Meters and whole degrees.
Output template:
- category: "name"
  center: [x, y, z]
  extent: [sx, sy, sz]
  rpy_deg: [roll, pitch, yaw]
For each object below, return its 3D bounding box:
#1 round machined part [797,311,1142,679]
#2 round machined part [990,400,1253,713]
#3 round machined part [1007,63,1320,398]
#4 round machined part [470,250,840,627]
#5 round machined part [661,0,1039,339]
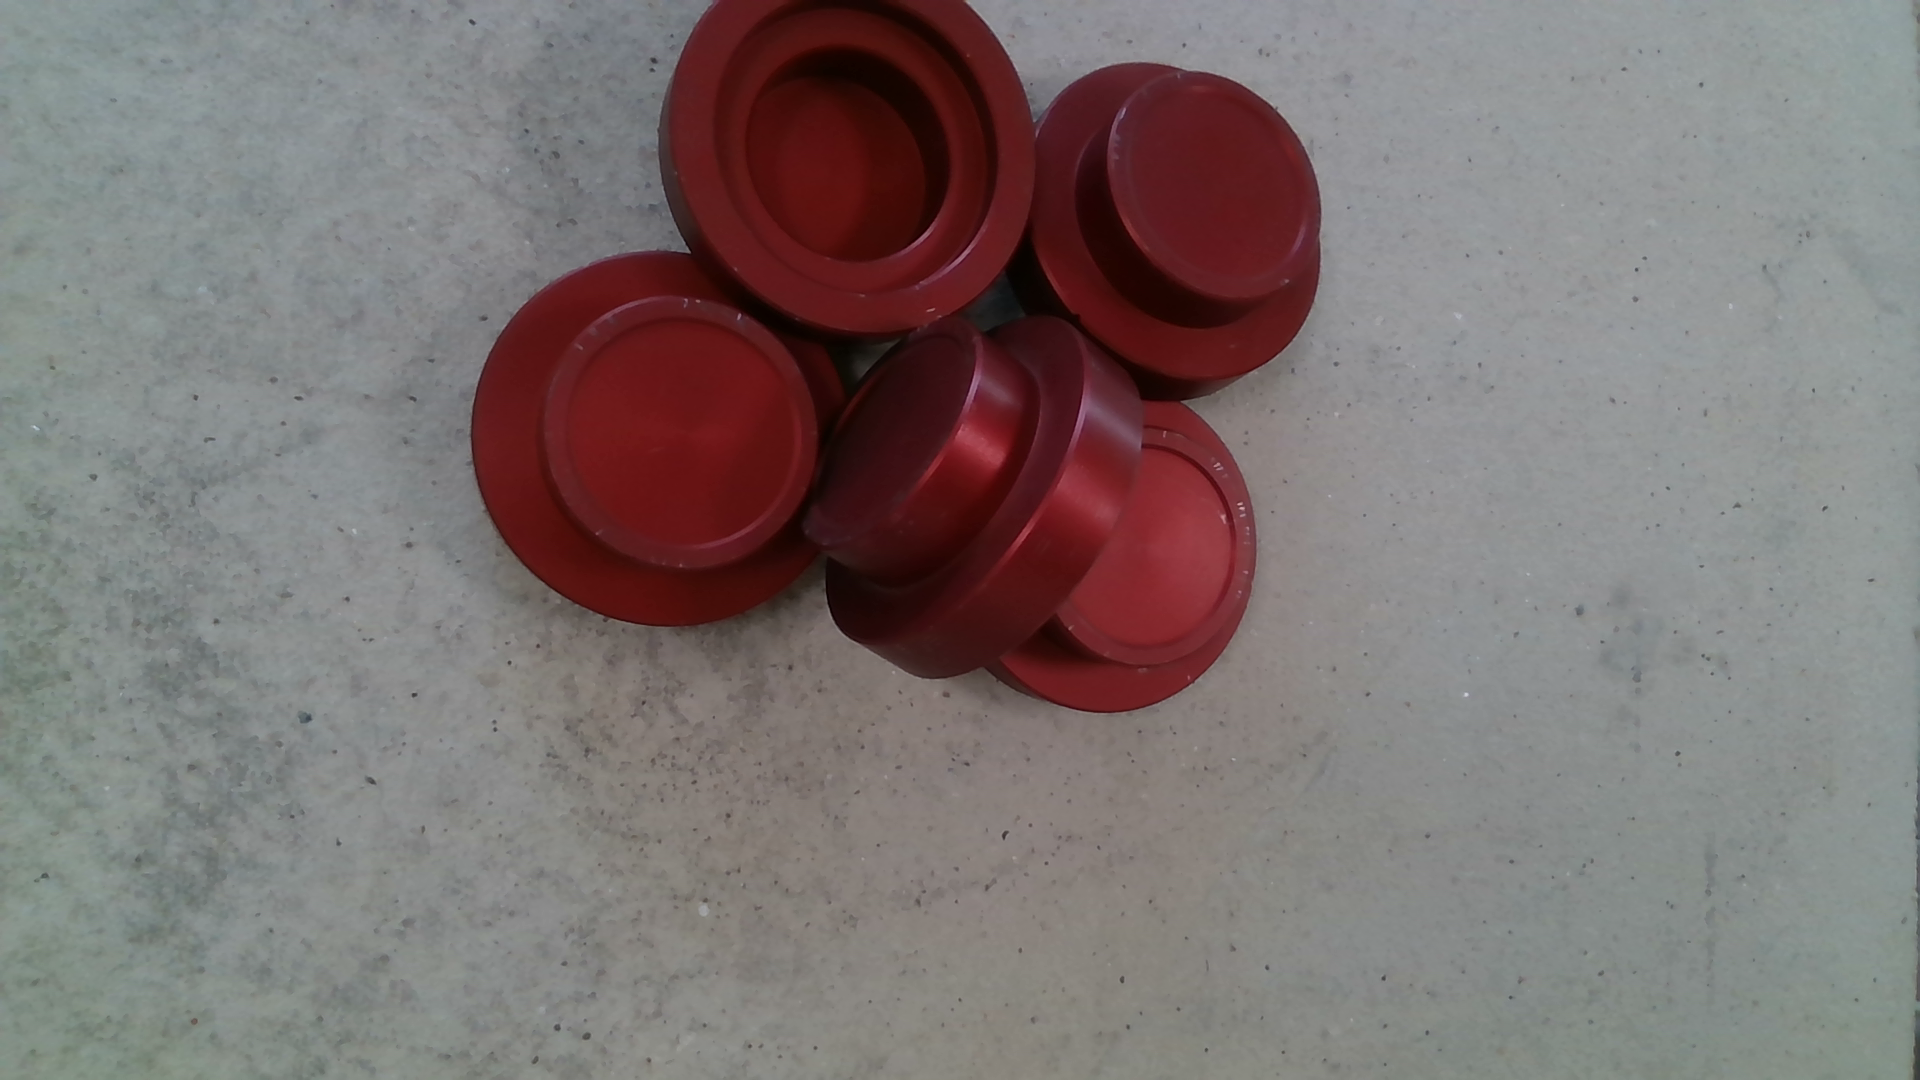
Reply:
- category: "round machined part"
  center: [-0.004, -0.018, 0.351]
  extent: [0.042, 0.098, 0.098]
  rpy_deg: [34, 79, -31]
- category: "round machined part"
  center: [0.045, 0.002, 0.401]
  extent: [0.098, 0.042, 0.098]
  rpy_deg: [0, 91, -21]
- category: "round machined part"
  center: [0.063, -0.094, 0.397]
  extent: [0.098, 0.042, 0.098]
  rpy_deg: [6, 74, -21]
- category: "round machined part"
  center: [-0.075, -0.026, 0.357]
  extent: [0.098, 0.042, 0.098]
  rpy_deg: [0, 91, -22]
- category: "round machined part"
  center: [-0.032, -0.102, 0.373]
  extent: [0.098, 0.042, 0.098]
  rpy_deg: [0, 90, -19]
